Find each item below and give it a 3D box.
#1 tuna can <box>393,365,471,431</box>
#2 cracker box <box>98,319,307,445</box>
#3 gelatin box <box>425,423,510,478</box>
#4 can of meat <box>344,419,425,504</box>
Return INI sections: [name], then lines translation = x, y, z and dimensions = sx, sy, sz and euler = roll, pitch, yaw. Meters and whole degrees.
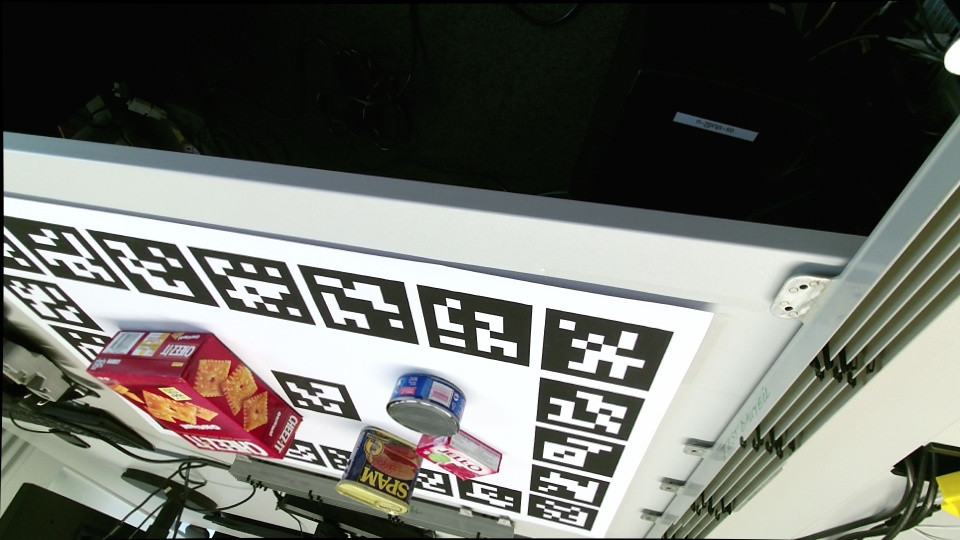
[tuna can]
translation = -0.055, 0.145, 0.608
dimensions = 0.086, 0.033, 0.086
euler = 10, 136, 9
[cracker box]
translation = -0.367, 0.155, 0.724
dimensions = 0.164, 0.071, 0.214
euler = -1, 138, 24
[gelatin box]
translation = -0.017, 0.242, 0.712
dimensions = 0.089, 0.030, 0.073
euler = 39, 139, -19
[can of meat]
translation = -0.129, 0.268, 0.755
dimensions = 0.102, 0.083, 0.058
euler = 29, 140, -13
